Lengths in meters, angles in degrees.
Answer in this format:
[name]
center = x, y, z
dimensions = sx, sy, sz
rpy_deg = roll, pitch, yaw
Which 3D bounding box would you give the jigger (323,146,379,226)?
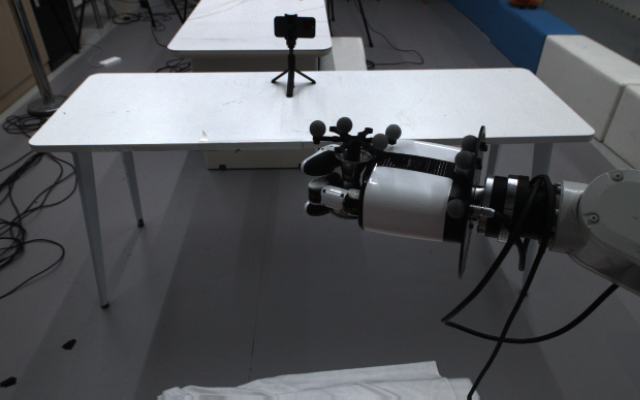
[jigger]
center = 0.038, -0.018, 0.543
dimensions = 0.043, 0.071, 0.043
rpy_deg = 3, 25, -1
